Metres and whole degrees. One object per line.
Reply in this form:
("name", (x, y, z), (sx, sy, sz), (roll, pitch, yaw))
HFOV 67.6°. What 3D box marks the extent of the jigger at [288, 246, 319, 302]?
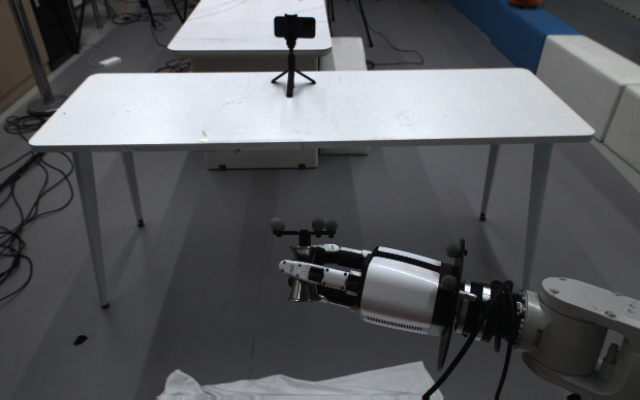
("jigger", (-0.021, 0.092, 0.618), (0.043, 0.071, 0.043), (1, -5, 0))
